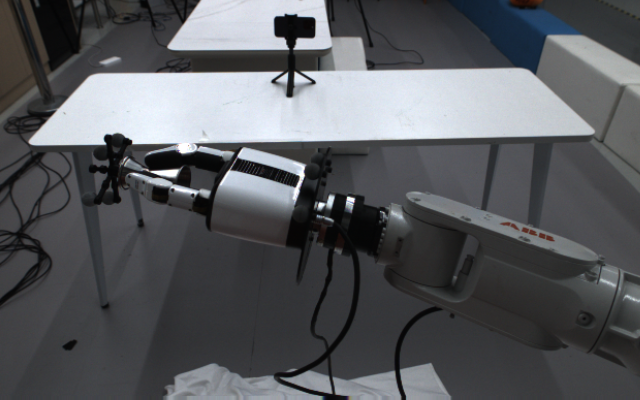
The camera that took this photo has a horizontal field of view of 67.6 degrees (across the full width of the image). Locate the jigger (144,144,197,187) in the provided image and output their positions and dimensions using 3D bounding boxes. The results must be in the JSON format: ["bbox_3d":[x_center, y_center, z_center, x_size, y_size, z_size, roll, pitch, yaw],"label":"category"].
[{"bbox_3d":[-0.181,-0.027,0.550,0.071,0.043,0.043,11,35,5],"label":"jigger"}]
